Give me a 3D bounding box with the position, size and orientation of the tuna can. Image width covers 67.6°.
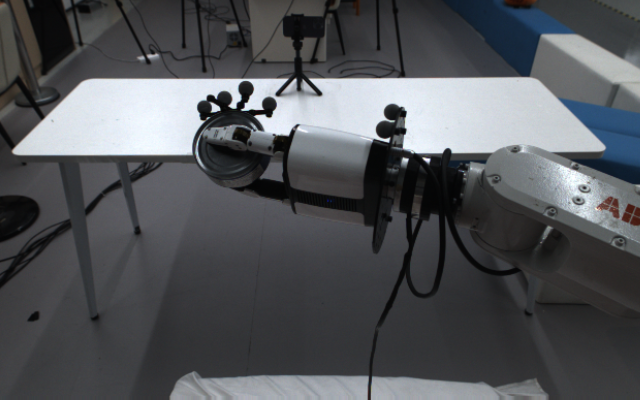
[{"bbox_3d":[-0.098,-0.054,0.558,0.085,0.034,0.085,-2,69,6],"label":"tuna can"}]
